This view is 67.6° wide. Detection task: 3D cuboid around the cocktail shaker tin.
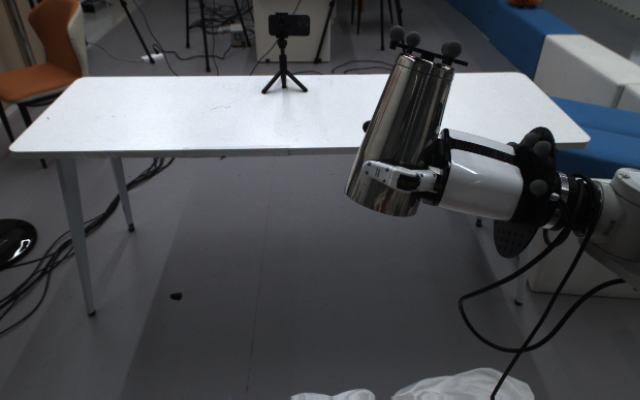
[{"bbox_3d":[0.097,-0.077,0.565,0.093,0.170,0.093,14,20,-5],"label":"cocktail shaker tin"}]
